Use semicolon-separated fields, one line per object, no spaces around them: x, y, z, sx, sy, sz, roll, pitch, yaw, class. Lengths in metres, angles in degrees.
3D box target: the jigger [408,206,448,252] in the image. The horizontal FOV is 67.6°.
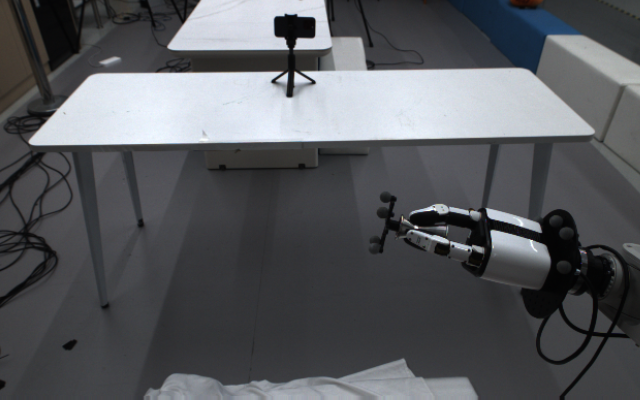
0.153;0.045;0.705;0.071;0.043;0.043;14;36;4;jigger
